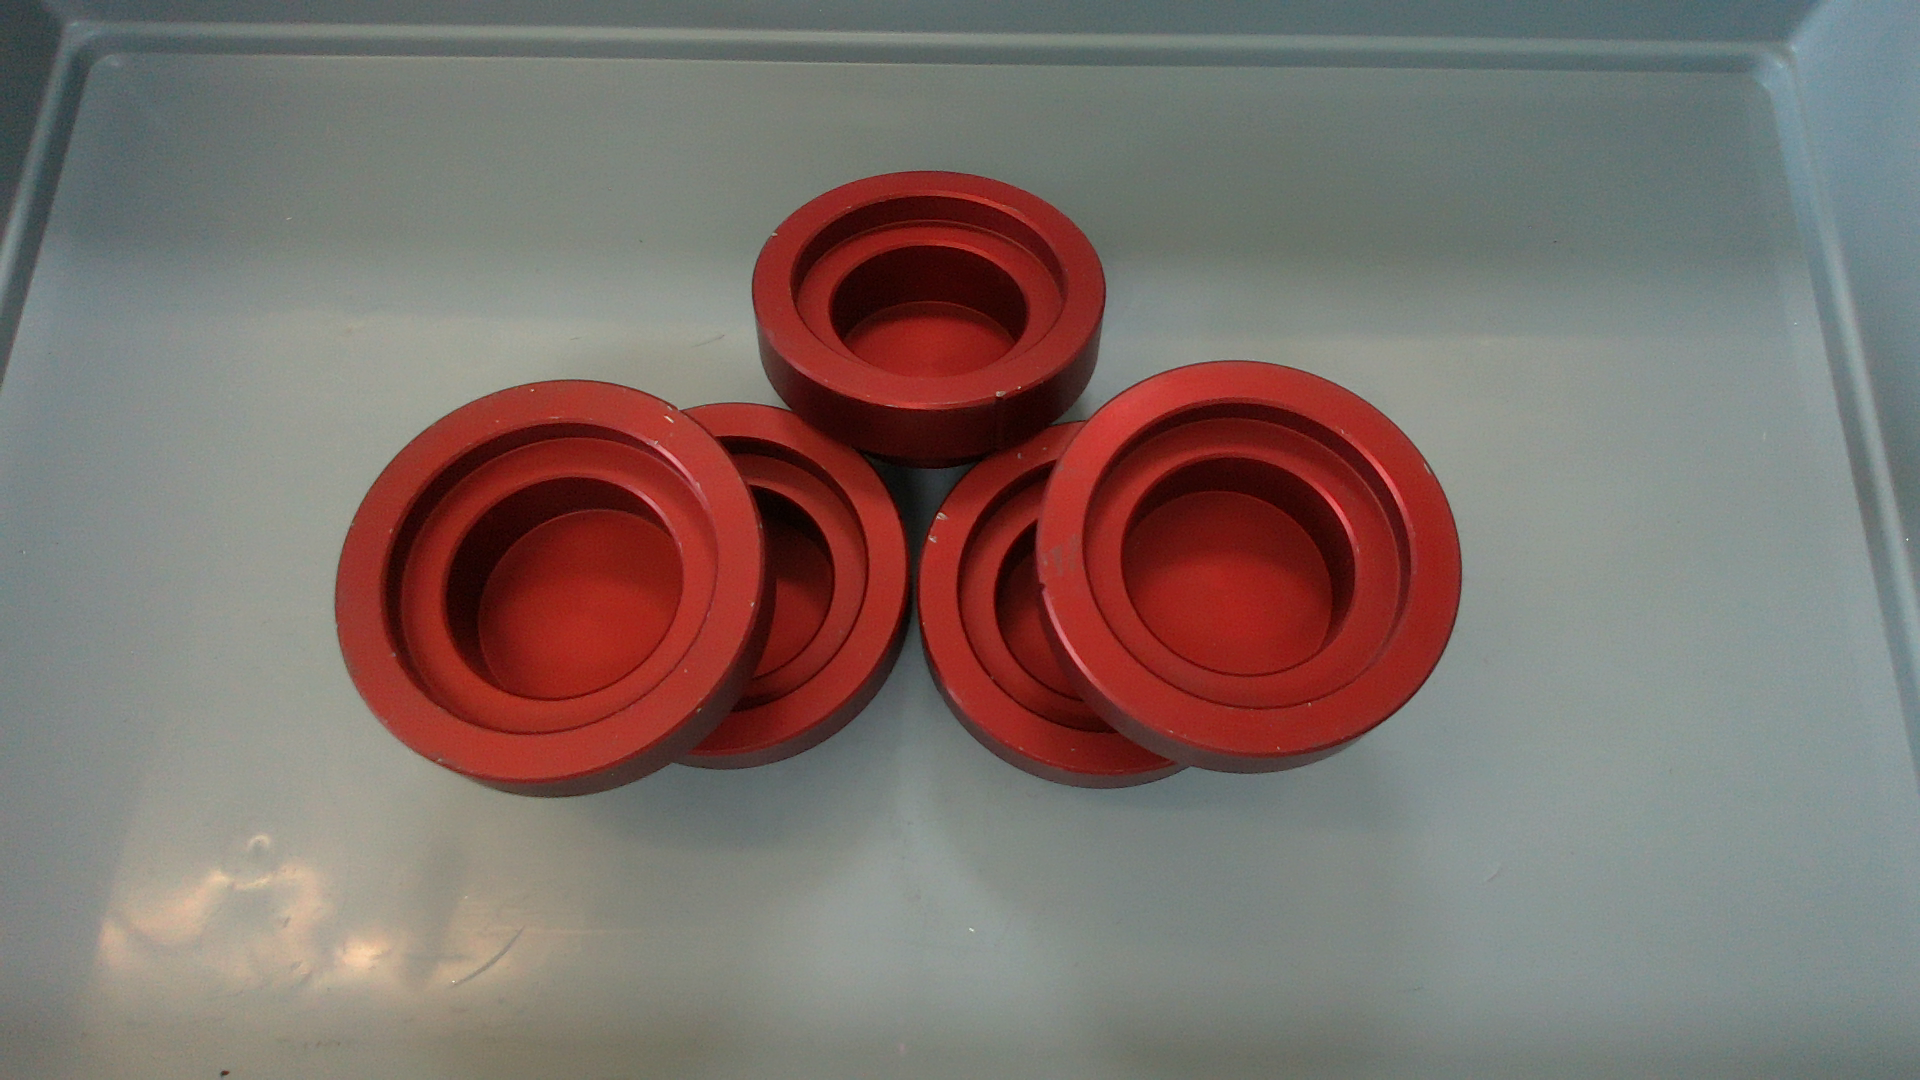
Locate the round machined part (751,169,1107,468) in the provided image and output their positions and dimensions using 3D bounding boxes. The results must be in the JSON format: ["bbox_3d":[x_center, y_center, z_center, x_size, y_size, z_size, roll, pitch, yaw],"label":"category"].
[{"bbox_3d":[-0.009,-0.059,0.396,0.098,0.042,0.098,1,52,-1],"label":"round machined part"}]

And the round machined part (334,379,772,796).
[{"bbox_3d":[-0.094,0.014,0.335,0.098,0.042,0.098,0,70,0],"label":"round machined part"}]

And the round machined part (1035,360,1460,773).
[{"bbox_3d":[0.067,0.009,0.337,0.098,0.042,0.098,0,70,0],"label":"round machined part"}]

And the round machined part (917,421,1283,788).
[{"bbox_3d":[0.038,0.020,0.378,0.098,0.042,0.098,0,70,0],"label":"round machined part"}]

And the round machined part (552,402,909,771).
[{"bbox_3d":[-0.062,0.015,0.379,0.098,0.042,0.098,0,70,0],"label":"round machined part"}]
